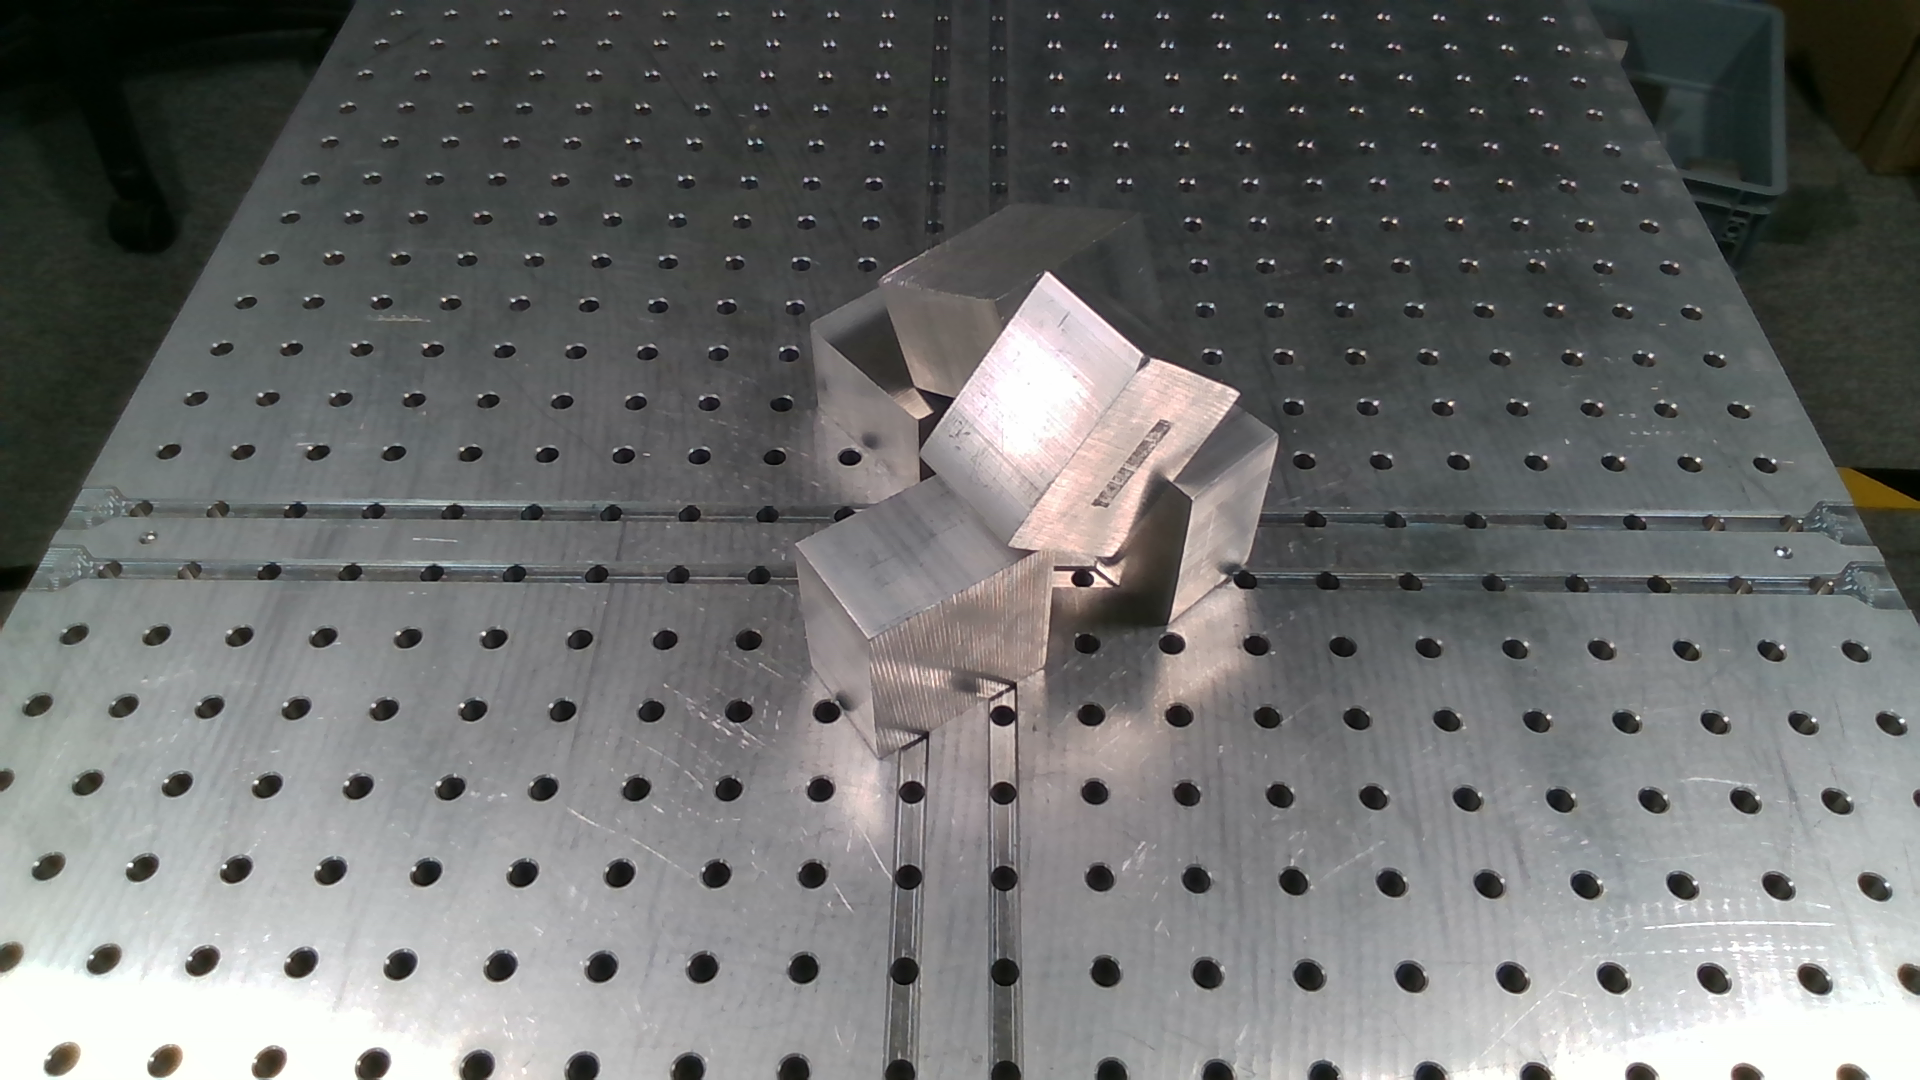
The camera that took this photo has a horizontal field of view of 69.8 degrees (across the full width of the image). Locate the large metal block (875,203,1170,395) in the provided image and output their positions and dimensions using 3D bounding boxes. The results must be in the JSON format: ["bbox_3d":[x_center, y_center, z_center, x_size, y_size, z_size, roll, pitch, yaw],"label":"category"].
[{"bbox_3d":[0.026,-0.099,0.571,0.080,0.050,0.080,-35,33,-26],"label":"large metal block"}]

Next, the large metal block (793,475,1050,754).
[{"bbox_3d":[-0.014,0.025,0.532,0.080,0.080,0.050,-27,55,-21],"label":"large metal block"}]

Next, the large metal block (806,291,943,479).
[{"bbox_3d":[-0.013,-0.078,0.638,0.080,0.050,0.080,-32,57,-24],"label":"large metal block"}]

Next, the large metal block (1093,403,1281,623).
[{"bbox_3d":[0.080,-0.027,0.575,0.050,0.080,0.080,-34,58,-25],"label":"large metal block"}]

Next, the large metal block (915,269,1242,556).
[{"bbox_3d":[0.044,-0.042,0.497,0.050,0.080,0.080,46,21,26],"label":"large metal block"}]
